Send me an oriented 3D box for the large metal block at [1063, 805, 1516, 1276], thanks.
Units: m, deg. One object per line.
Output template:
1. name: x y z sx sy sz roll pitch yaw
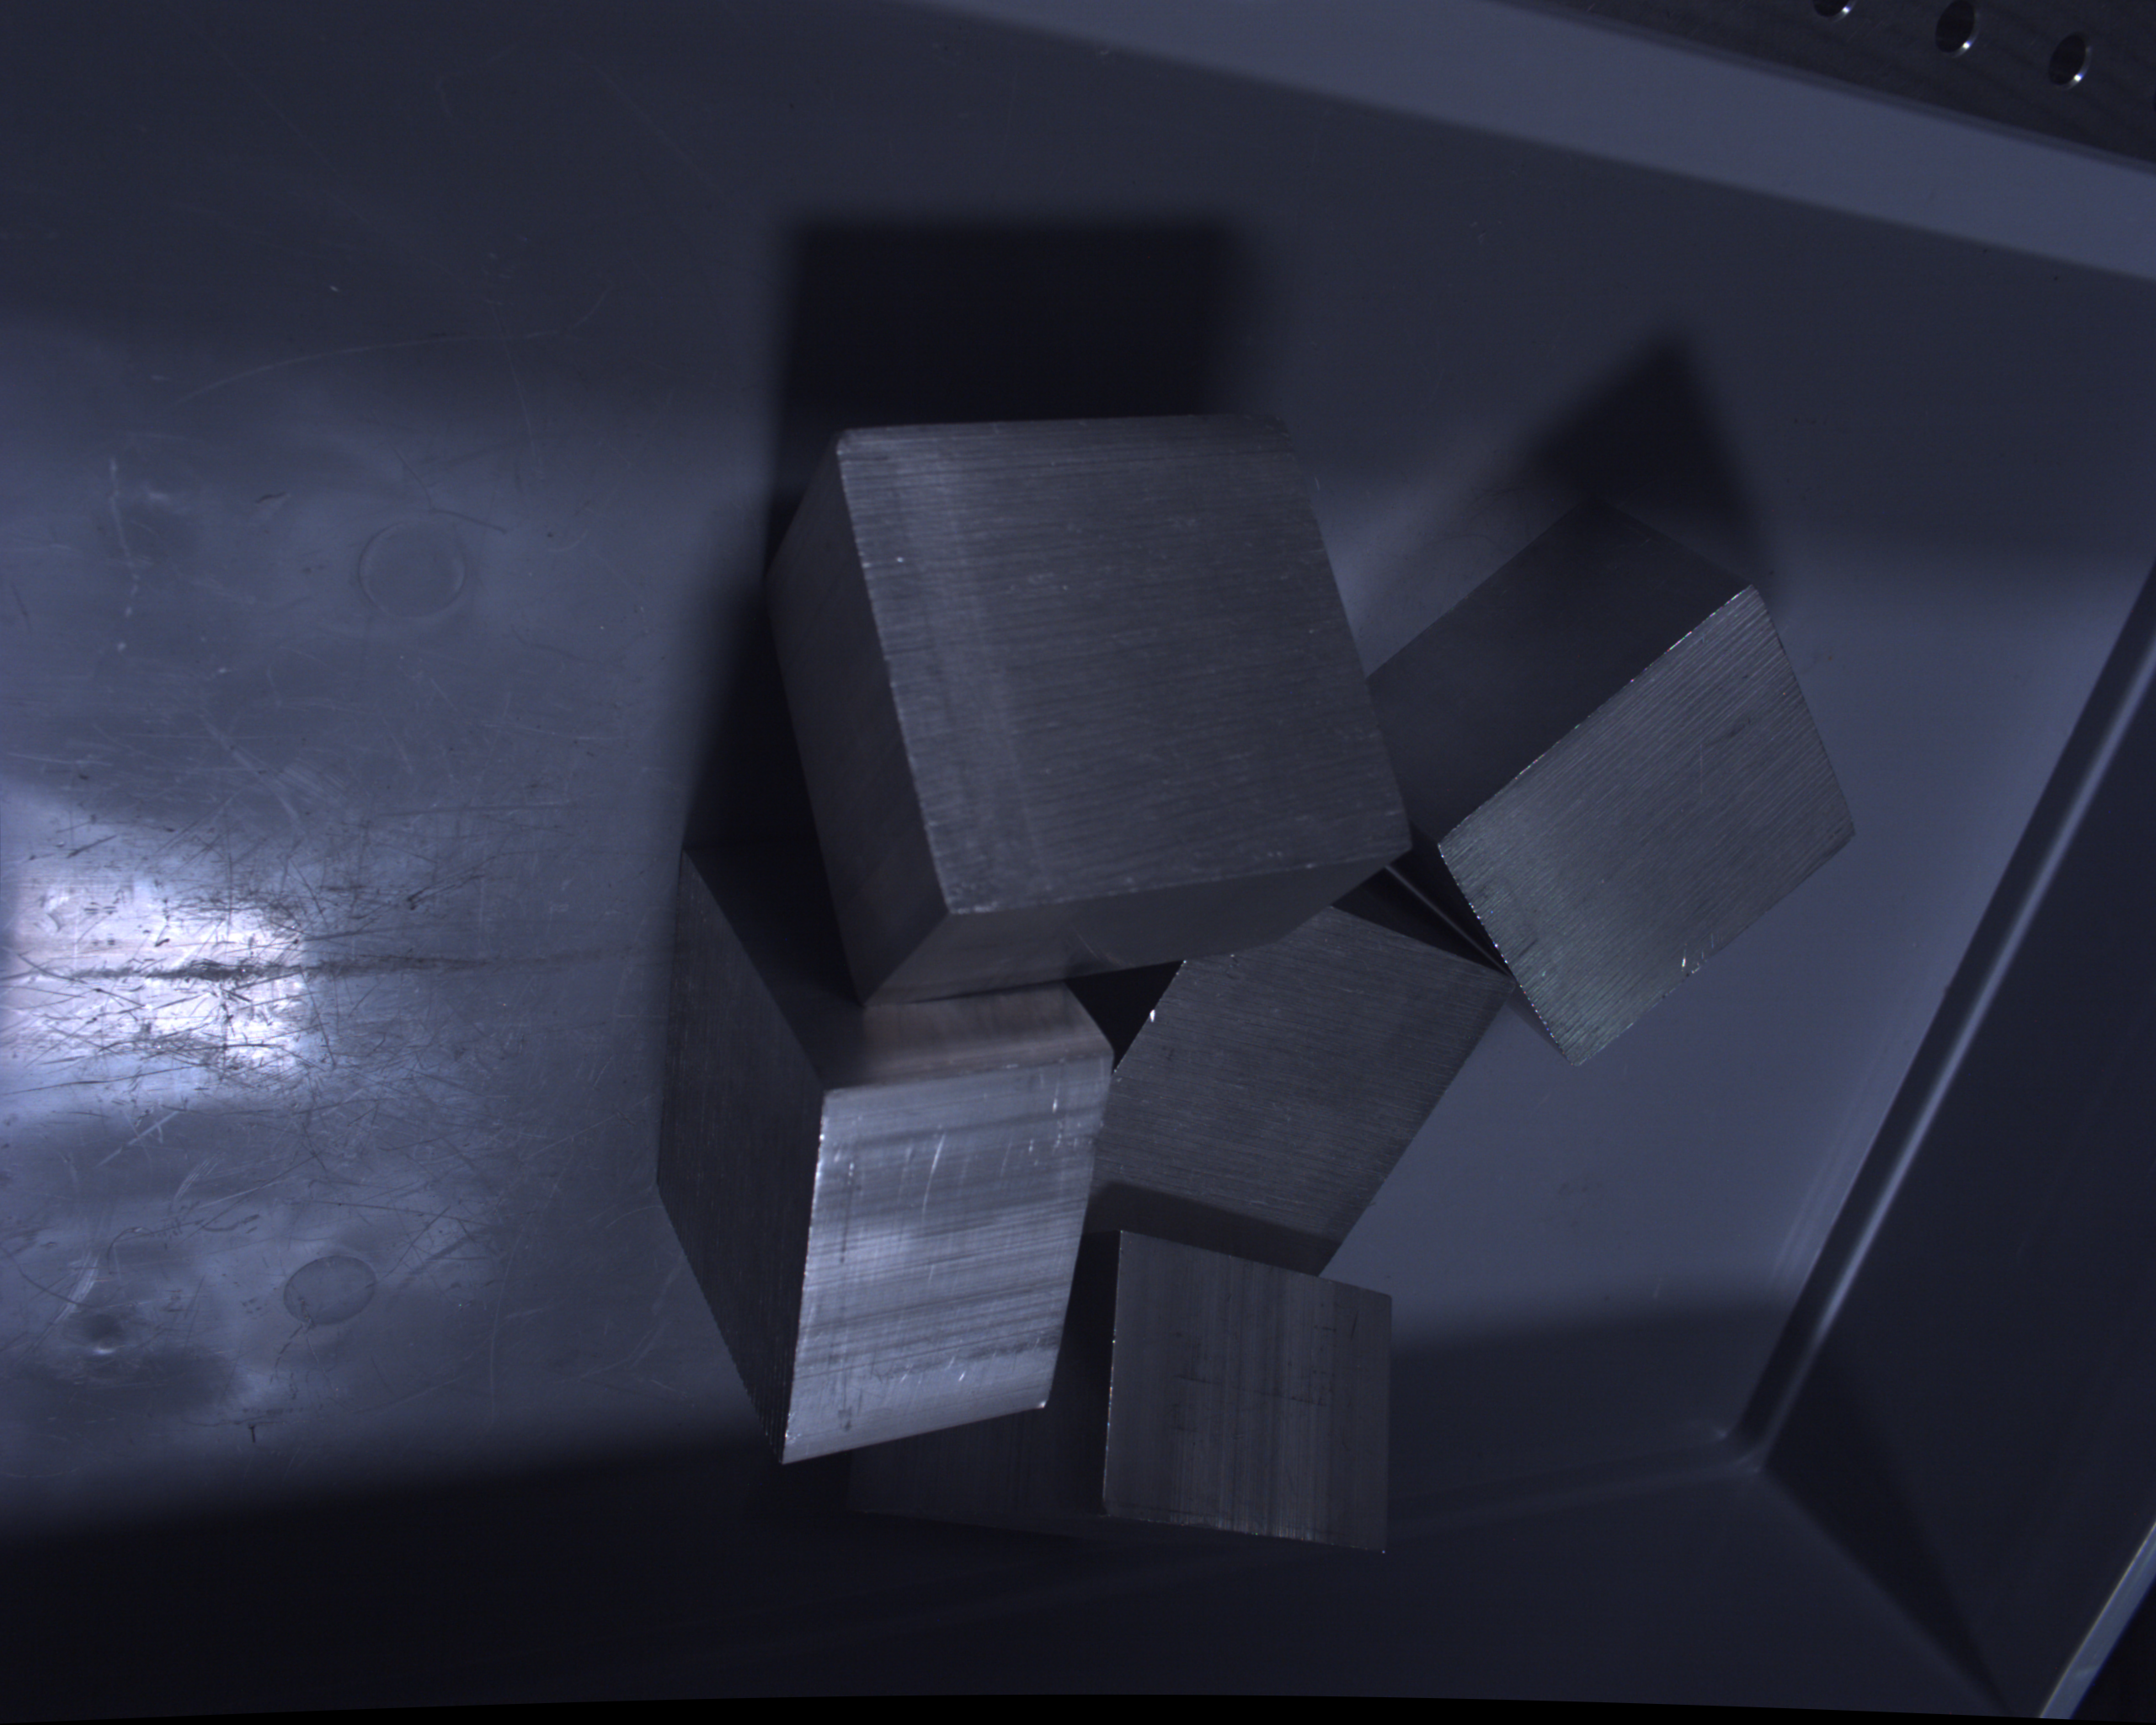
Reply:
1. large metal block: 0.028 0.033 0.430 0.080 0.050 0.080 21 107 -36

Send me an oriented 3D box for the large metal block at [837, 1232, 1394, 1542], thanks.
1. large metal block: 0.008 0.112 0.439 0.080 0.080 0.050 21 65 -38

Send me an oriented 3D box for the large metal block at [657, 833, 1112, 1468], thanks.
1. large metal block: -0.040 0.048 0.381 0.050 0.080 0.079 -6 121 -26

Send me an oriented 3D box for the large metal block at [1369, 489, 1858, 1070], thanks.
1. large metal block: 0.107 -0.017 0.441 0.080 0.050 0.080 -40 130 -2

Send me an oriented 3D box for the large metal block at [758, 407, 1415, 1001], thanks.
1. large metal block: -0.001 -0.027 0.348 0.081 0.080 0.050 -7 163 -24
